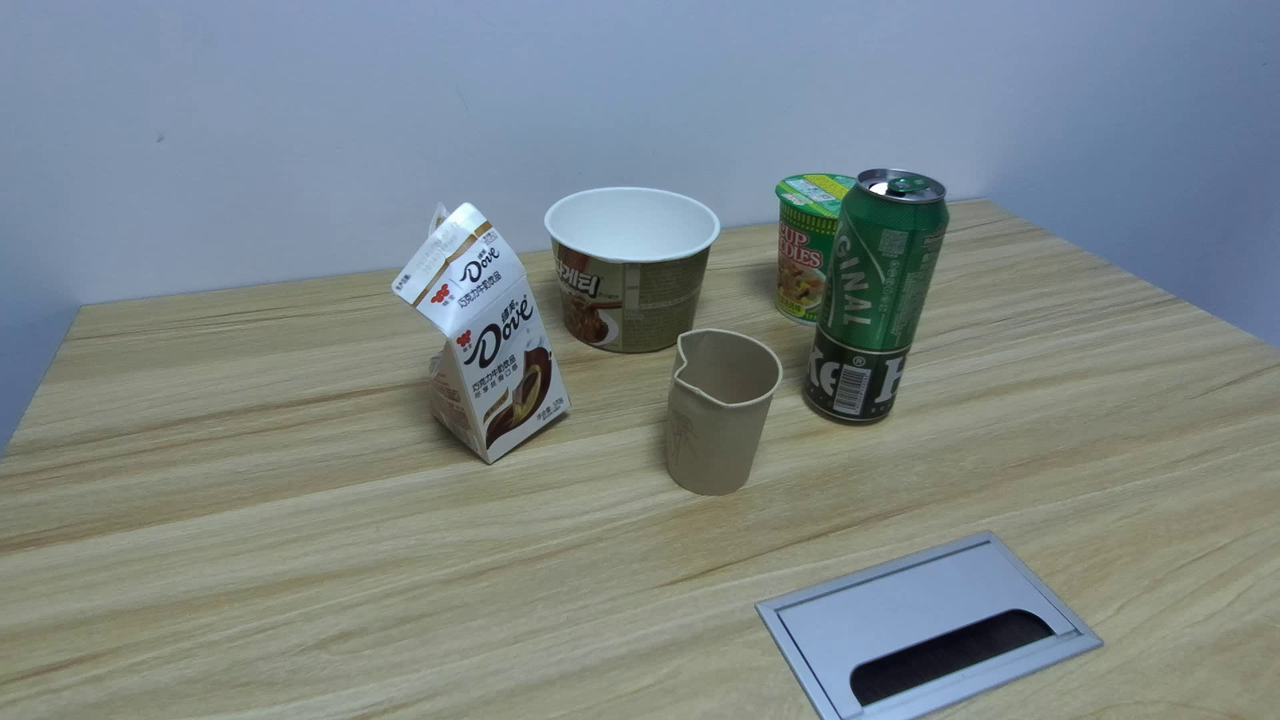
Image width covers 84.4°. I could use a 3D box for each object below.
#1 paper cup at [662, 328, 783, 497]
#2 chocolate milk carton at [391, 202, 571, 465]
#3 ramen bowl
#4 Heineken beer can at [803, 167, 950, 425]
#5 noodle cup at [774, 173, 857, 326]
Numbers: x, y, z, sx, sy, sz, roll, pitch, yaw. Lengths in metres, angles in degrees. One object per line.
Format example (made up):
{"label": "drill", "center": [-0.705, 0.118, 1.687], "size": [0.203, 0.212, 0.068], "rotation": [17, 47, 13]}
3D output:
{"label": "paper cup", "center": [0.048, 0.035, 0.440], "size": [0.073, 0.081, 0.069], "rotation": [27, 41, 28]}
{"label": "chocolate milk carton", "center": [-0.105, -0.016, 0.457], "size": [0.076, 0.156, 0.089], "rotation": [24, 52, 35]}
{"label": "ramen bowl", "center": [-0.008, -0.074, 0.587], "size": [0.140, 0.095, 0.140], "rotation": [3, 35, -2]}
{"label": "Heineken beer can", "center": [0.158, -0.038, 0.483], "size": [0.067, 0.169, 0.067], "rotation": [2, 33, -1]}
{"label": "noodle cup", "center": [0.162, -0.092, 0.614], "size": [0.097, 0.110, 0.097], "rotation": [2, 33, -1]}
